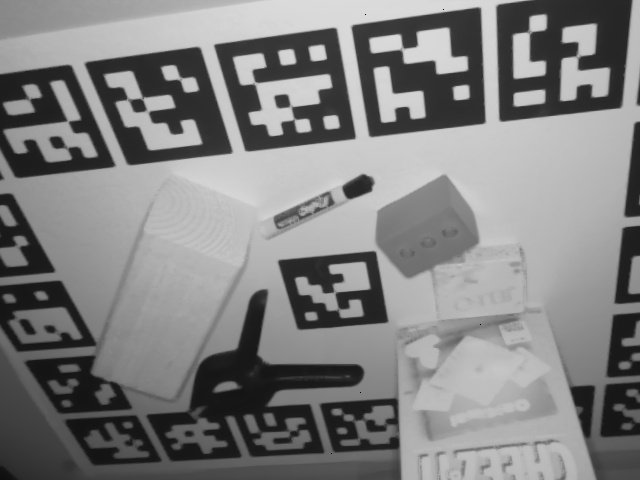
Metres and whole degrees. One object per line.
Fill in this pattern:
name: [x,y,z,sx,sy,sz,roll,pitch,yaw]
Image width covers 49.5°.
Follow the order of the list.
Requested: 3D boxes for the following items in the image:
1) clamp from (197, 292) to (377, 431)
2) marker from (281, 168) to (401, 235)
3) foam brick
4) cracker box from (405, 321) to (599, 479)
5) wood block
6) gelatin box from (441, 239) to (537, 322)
clamp: [-0.064,0.157,0.772,0.200,0.037,0.166,-35,115,23]
marker: [0.019,-0.036,0.645,0.120,0.020,0.019,-24,118,18]
foam brick: [0.112,-0.013,0.638,0.077,0.052,0.053,-29,116,21]
cracker box: [0.165,0.180,0.663,0.163,0.216,0.071,-9,124,12]
wood block: [-0.130,0.053,0.676,0.090,0.092,0.203,21,125,-14]
gelatin box: [0.167,0.041,0.688,0.089,0.030,0.073,-8,122,8]
